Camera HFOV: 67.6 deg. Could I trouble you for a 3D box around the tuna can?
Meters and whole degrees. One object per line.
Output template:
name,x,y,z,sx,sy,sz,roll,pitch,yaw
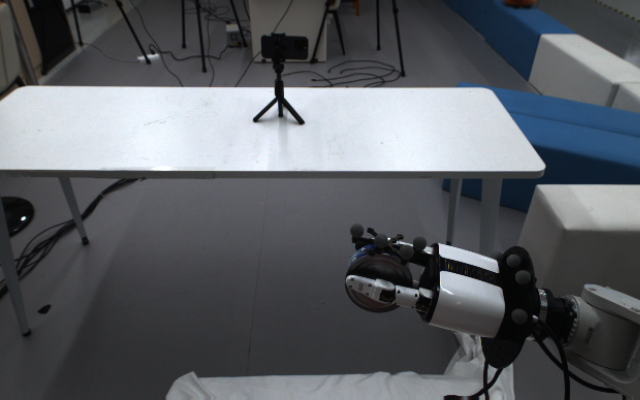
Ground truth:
tuna can,0.078,0.098,0.625,0.085,0.085,0.034,5,18,4
